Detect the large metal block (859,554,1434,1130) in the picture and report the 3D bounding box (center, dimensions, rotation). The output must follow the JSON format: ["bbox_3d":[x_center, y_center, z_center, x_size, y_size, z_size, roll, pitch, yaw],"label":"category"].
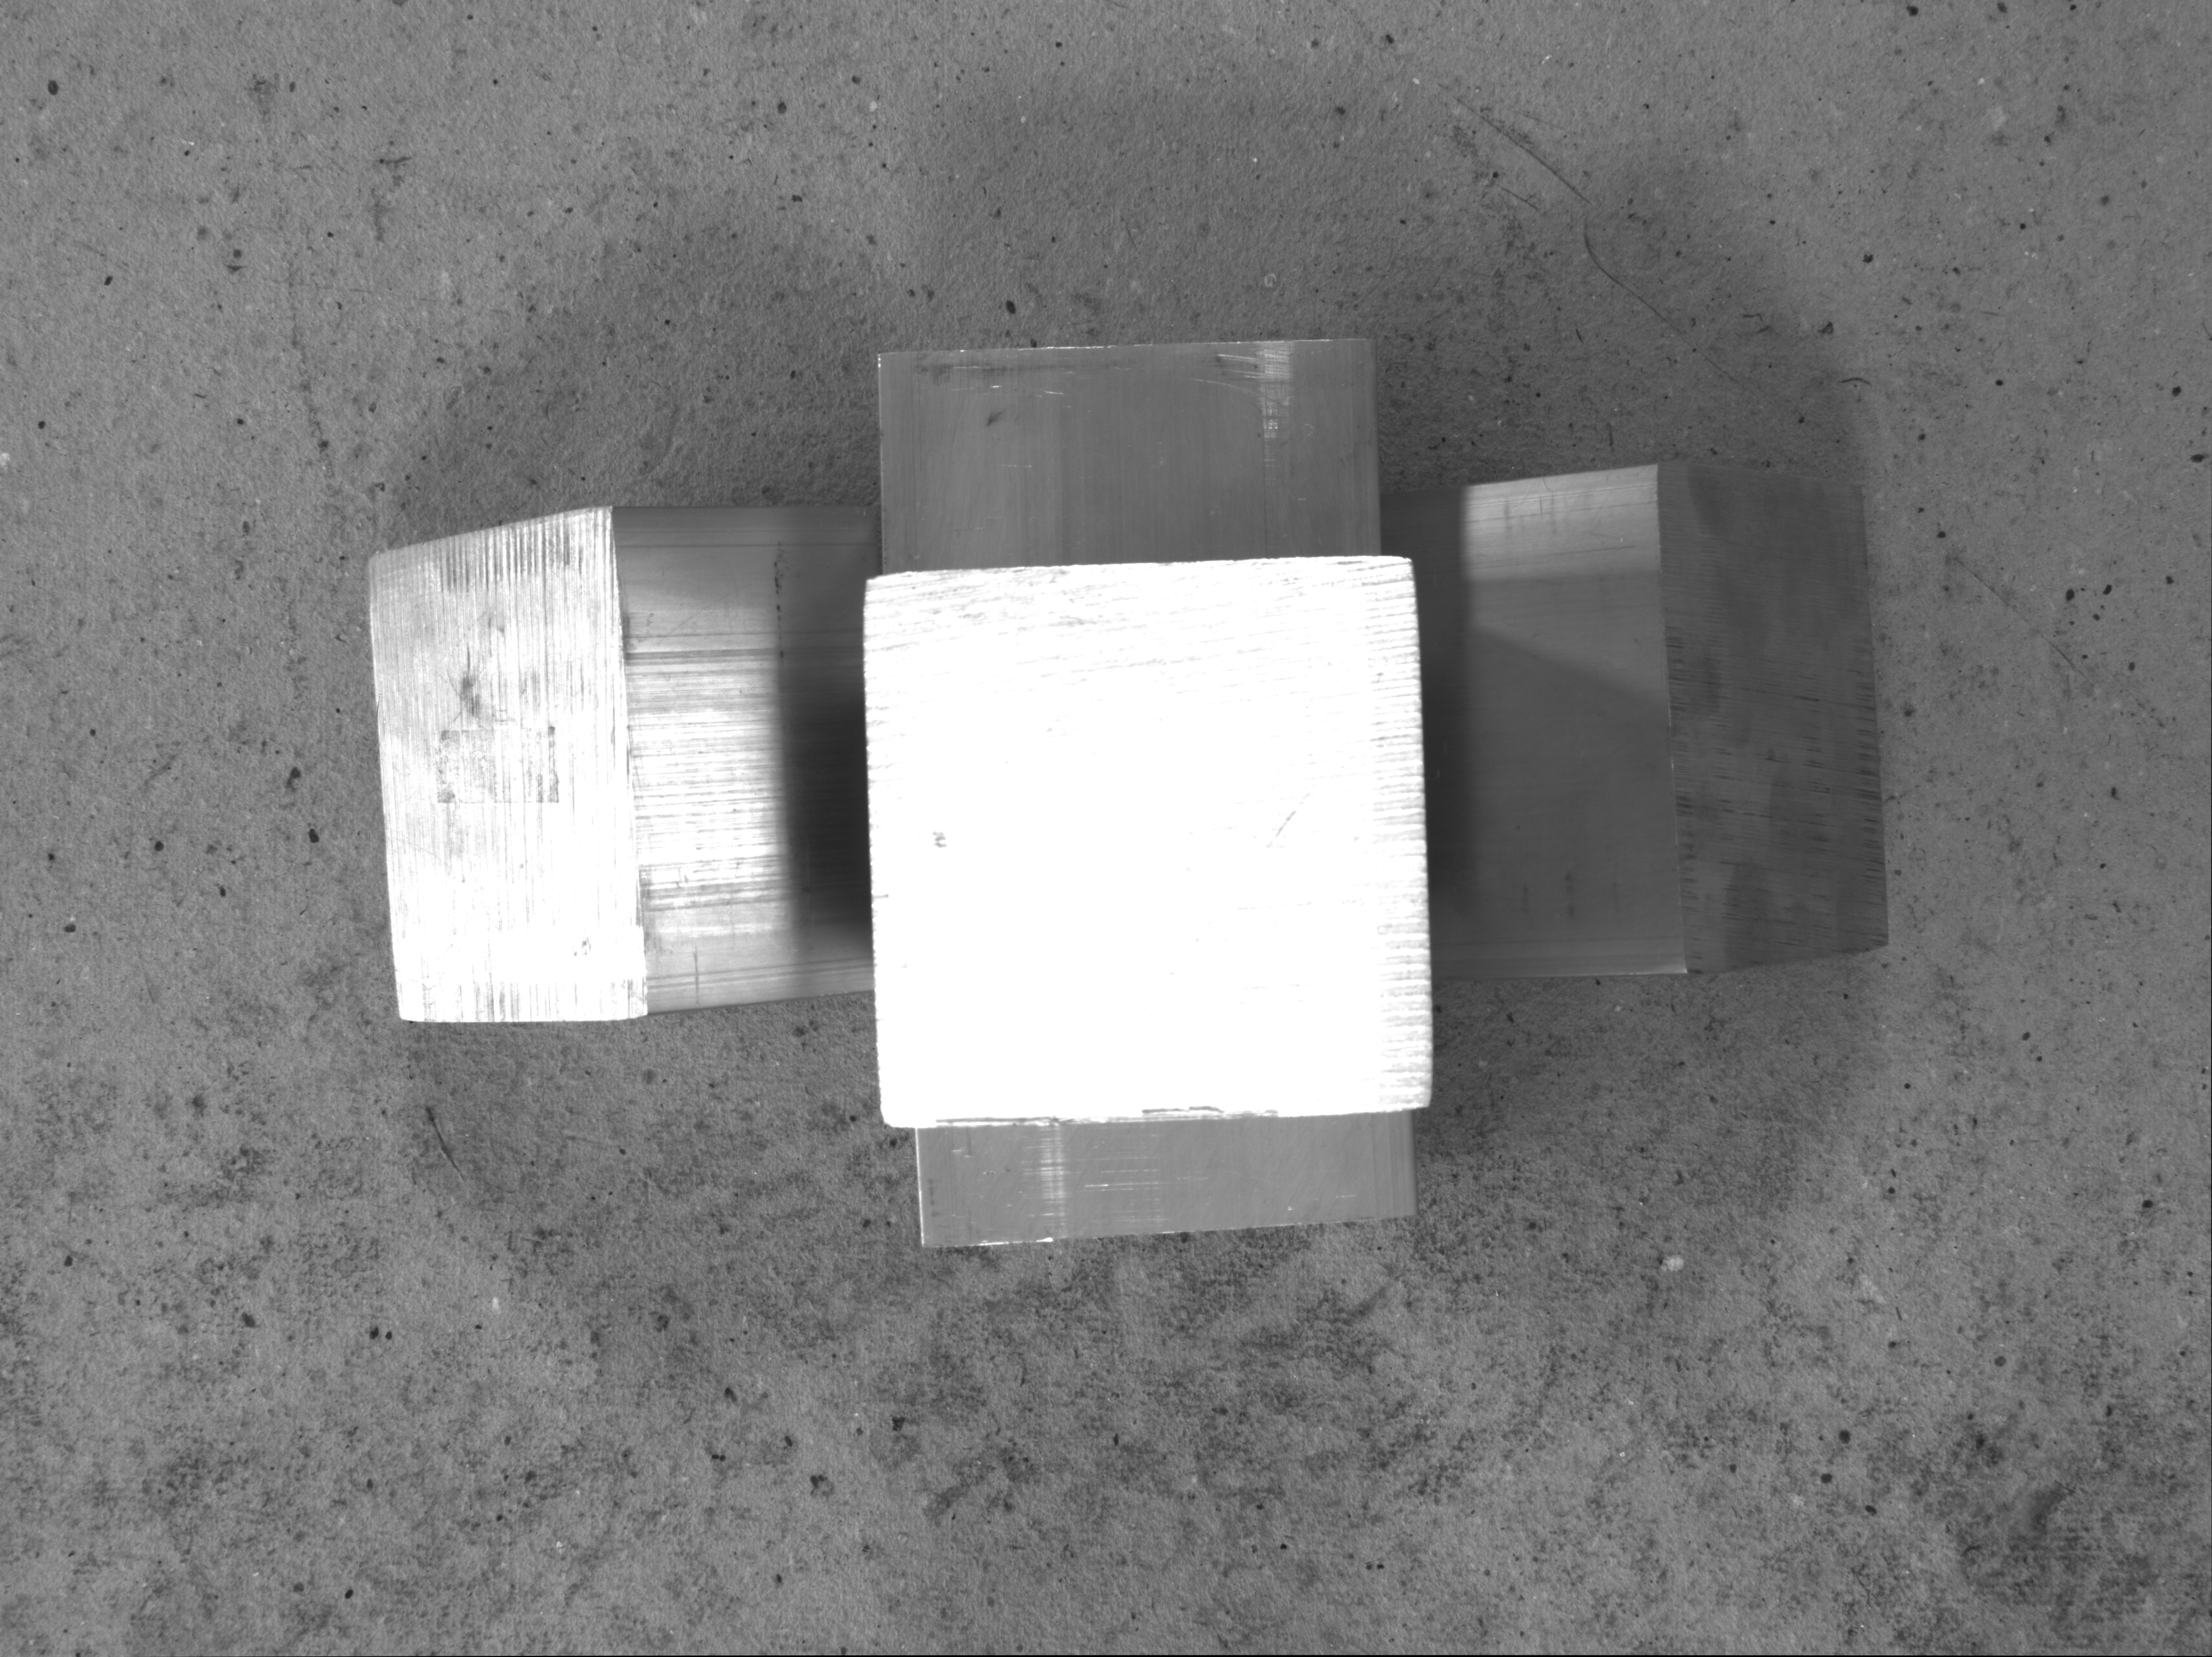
[{"bbox_3d":[0.006,0.002,0.553,0.080,0.050,0.080,-2,90,0],"label":"large metal block"}]

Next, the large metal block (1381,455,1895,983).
[{"bbox_3d":[0.090,-0.017,0.610,0.050,0.080,0.080,-3,90,35],"label":"large metal block"}]

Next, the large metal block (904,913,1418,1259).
[{"bbox_3d":[0.008,0.040,0.619,0.080,0.080,0.050,-4,90,1],"label":"large metal block"}]

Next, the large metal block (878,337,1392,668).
[{"bbox_3d":[0.005,-0.051,0.618,0.080,0.080,0.050,-2,90,0],"label":"large metal block"}]

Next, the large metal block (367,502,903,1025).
[{"bbox_3d":[-0.079,-0.009,0.611,0.050,0.080,0.080,-3,89,-40],"label":"large metal block"}]
